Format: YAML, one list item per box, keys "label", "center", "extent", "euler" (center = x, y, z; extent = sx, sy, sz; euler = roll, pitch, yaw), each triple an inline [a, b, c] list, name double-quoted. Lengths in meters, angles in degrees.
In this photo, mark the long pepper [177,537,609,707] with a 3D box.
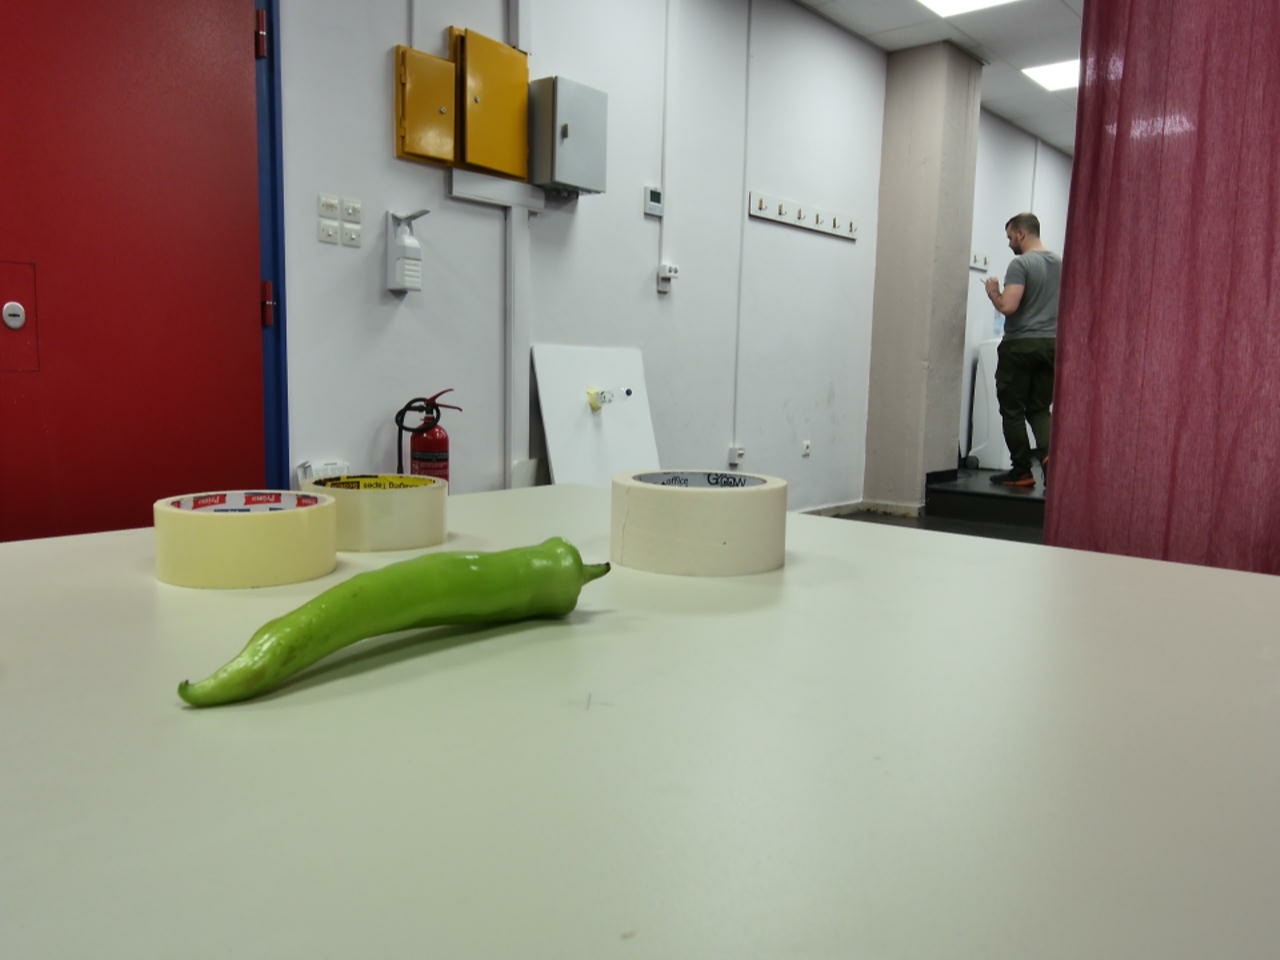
- label: "long pepper"
  center: [-0.094, 0.050, 0.408]
  extent: [0.047, 0.038, 0.197]
  euler: [3, 5, 41]
